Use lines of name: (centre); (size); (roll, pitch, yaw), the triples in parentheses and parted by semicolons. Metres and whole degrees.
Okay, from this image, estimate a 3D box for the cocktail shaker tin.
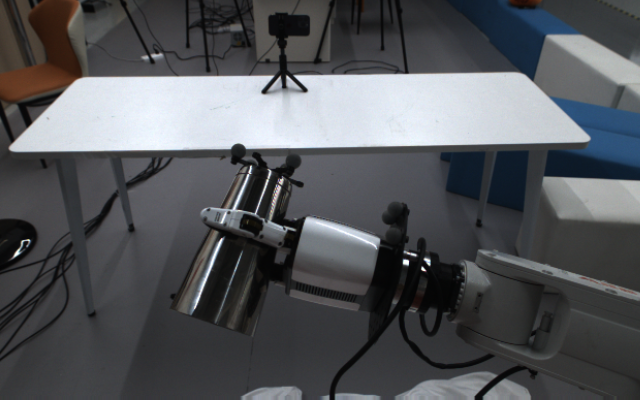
cocktail shaker tin: (-0.088, 0.052, 0.528); (0.093, 0.093, 0.170); (13, 70, 15)
